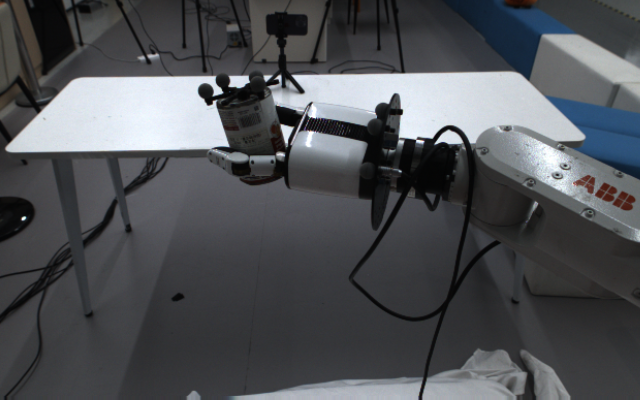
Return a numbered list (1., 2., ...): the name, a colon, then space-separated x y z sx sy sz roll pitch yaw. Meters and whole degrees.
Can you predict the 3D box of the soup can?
1. soup can: -0.077 -0.077 0.583 0.067 0.101 0.067 -11 28 6
